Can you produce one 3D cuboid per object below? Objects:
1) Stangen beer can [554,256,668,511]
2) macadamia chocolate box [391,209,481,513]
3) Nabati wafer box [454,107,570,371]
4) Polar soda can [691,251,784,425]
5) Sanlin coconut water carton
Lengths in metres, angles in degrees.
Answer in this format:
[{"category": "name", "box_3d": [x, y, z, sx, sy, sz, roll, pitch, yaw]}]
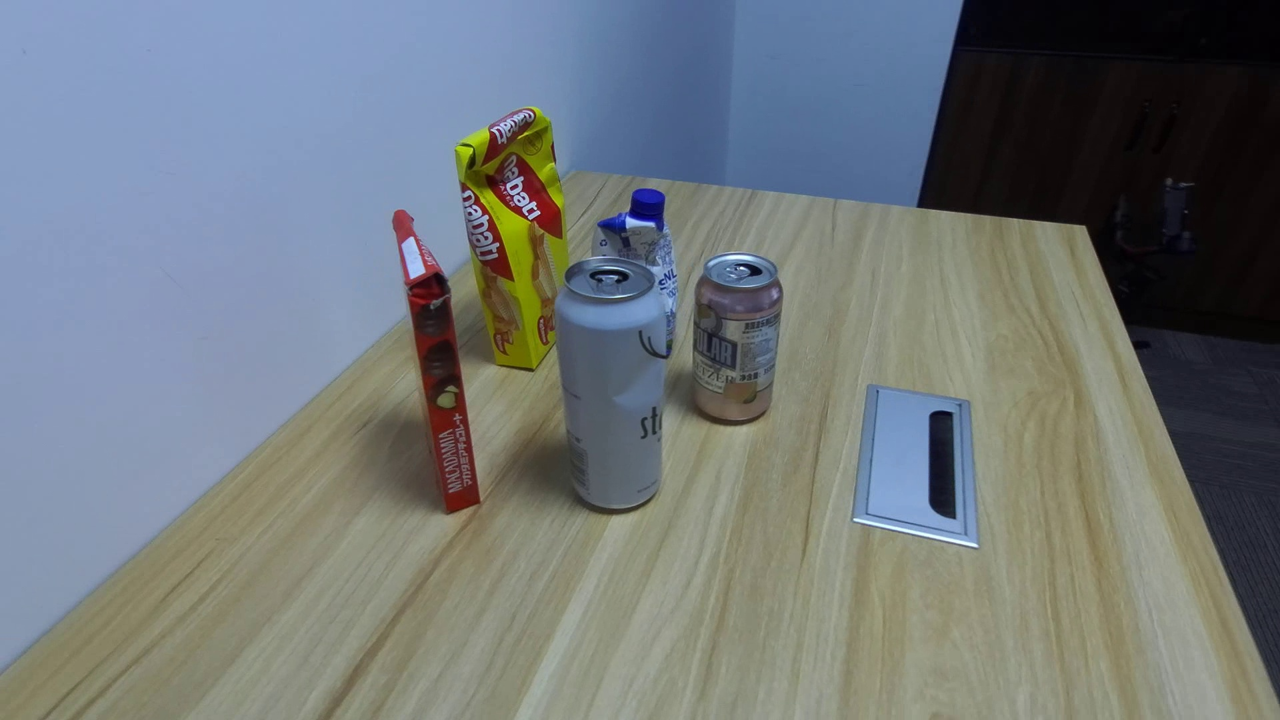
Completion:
[{"category": "Stangen beer can", "box_3d": [-0.014, 0.018, 0.465, 0.069, 0.173, 0.070, 8, 35, 14]}, {"category": "macadamia chocolate box", "box_3d": [-0.138, 0.002, 0.479, 0.027, 0.187, 0.102, -11, 36, -19]}, {"category": "Nabati wafer box", "box_3d": [-0.101, -0.099, 0.606, 0.042, 0.205, 0.113, 10, 39, 18]}, {"category": "Polar soda can", "box_3d": [0.075, -0.015, 0.550, 0.067, 0.126, 0.067, -1, 33, 1]}, {"category": "Sanlin coconut water carton", "box_3d": [-0.003, -0.078, 0.622, 0.068, 0.145, 0.056, -5, 29, 9]}]
